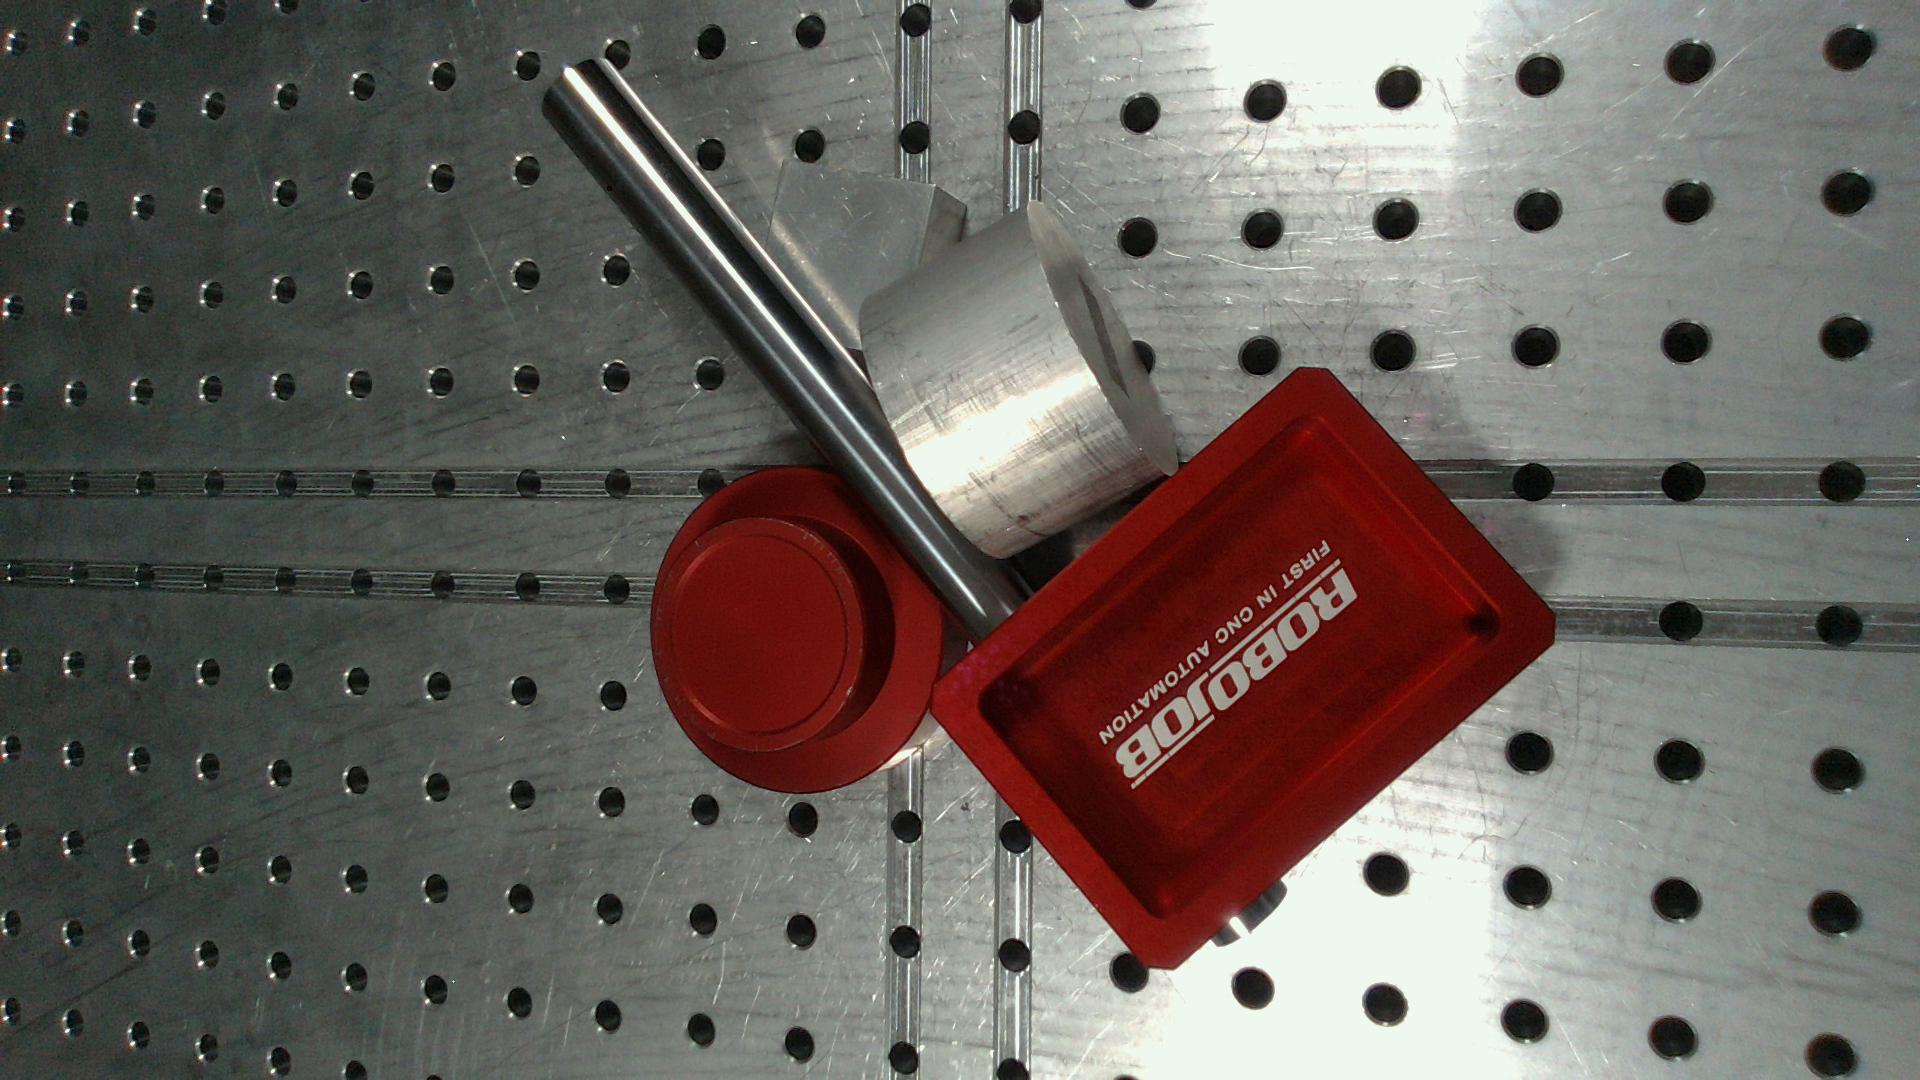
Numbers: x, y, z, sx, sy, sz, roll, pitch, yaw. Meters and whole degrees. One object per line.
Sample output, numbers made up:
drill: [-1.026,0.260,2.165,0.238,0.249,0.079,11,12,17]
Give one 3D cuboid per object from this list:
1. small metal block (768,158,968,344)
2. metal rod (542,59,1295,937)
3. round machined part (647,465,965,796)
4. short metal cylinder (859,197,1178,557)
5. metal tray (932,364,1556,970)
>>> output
small metal block: [-0.030,-0.082,0.410,0.050,0.025,0.050,14,95,19]
metal rod: [-0.015,-0.015,0.386,0.025,0.025,0.300,-41,85,15]
round machined part: [-0.051,0.027,0.407,0.098,0.042,0.098,0,90,20]
short metal cylinder: [0.017,-0.042,0.363,0.050,0.080,0.080,-26,81,18]
metal tray: [0.069,0.031,0.348,0.130,0.030,0.090,-41,84,0]
